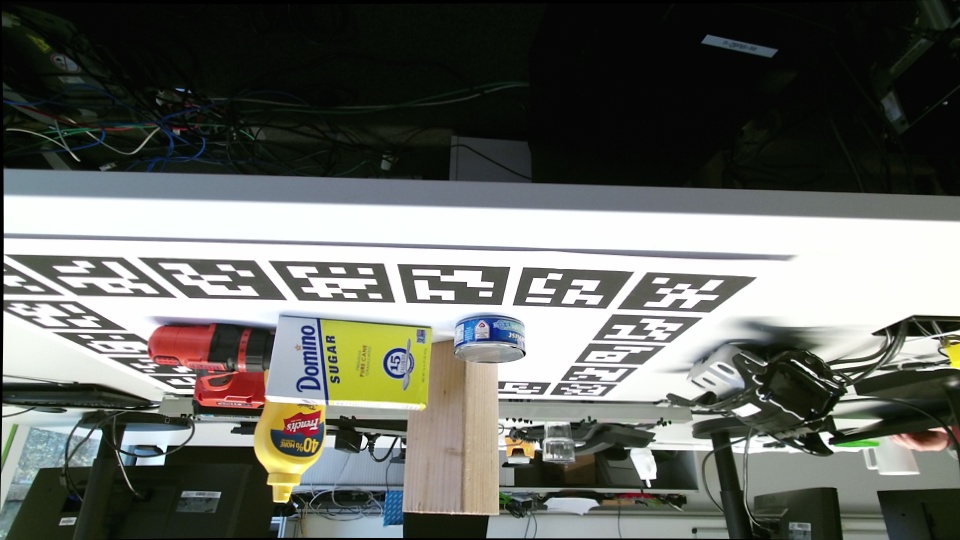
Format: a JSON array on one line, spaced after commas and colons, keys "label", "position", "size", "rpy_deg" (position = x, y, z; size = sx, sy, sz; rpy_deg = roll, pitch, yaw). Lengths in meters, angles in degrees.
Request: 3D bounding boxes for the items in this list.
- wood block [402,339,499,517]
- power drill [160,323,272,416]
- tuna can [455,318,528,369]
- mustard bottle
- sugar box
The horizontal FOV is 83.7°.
[{"label": "wood block", "position": [-0.034, 0.203, 0.692], "size": [0.091, 0.205, 0.090], "rpy_deg": [-13, 148, 23]}, {"label": "power drill", "position": [-0.301, 0.134, 0.700], "size": [0.185, 0.057, 0.187], "rpy_deg": [8, 144, -14]}, {"label": "tuna can", "position": [0.013, 0.089, 0.633], "size": [0.086, 0.033, 0.086], "rpy_deg": [1, 151, 0]}, {"label": "mustard bottle", "position": [-0.255, 0.211, 0.720], "size": [0.058, 0.190, 0.096], "rpy_deg": [-21, 144, 32]}, {"label": "sugar box", "position": [-0.154, 0.110, 0.622], "size": [0.177, 0.092, 0.045], "rpy_deg": [8, 154, -12]}]
